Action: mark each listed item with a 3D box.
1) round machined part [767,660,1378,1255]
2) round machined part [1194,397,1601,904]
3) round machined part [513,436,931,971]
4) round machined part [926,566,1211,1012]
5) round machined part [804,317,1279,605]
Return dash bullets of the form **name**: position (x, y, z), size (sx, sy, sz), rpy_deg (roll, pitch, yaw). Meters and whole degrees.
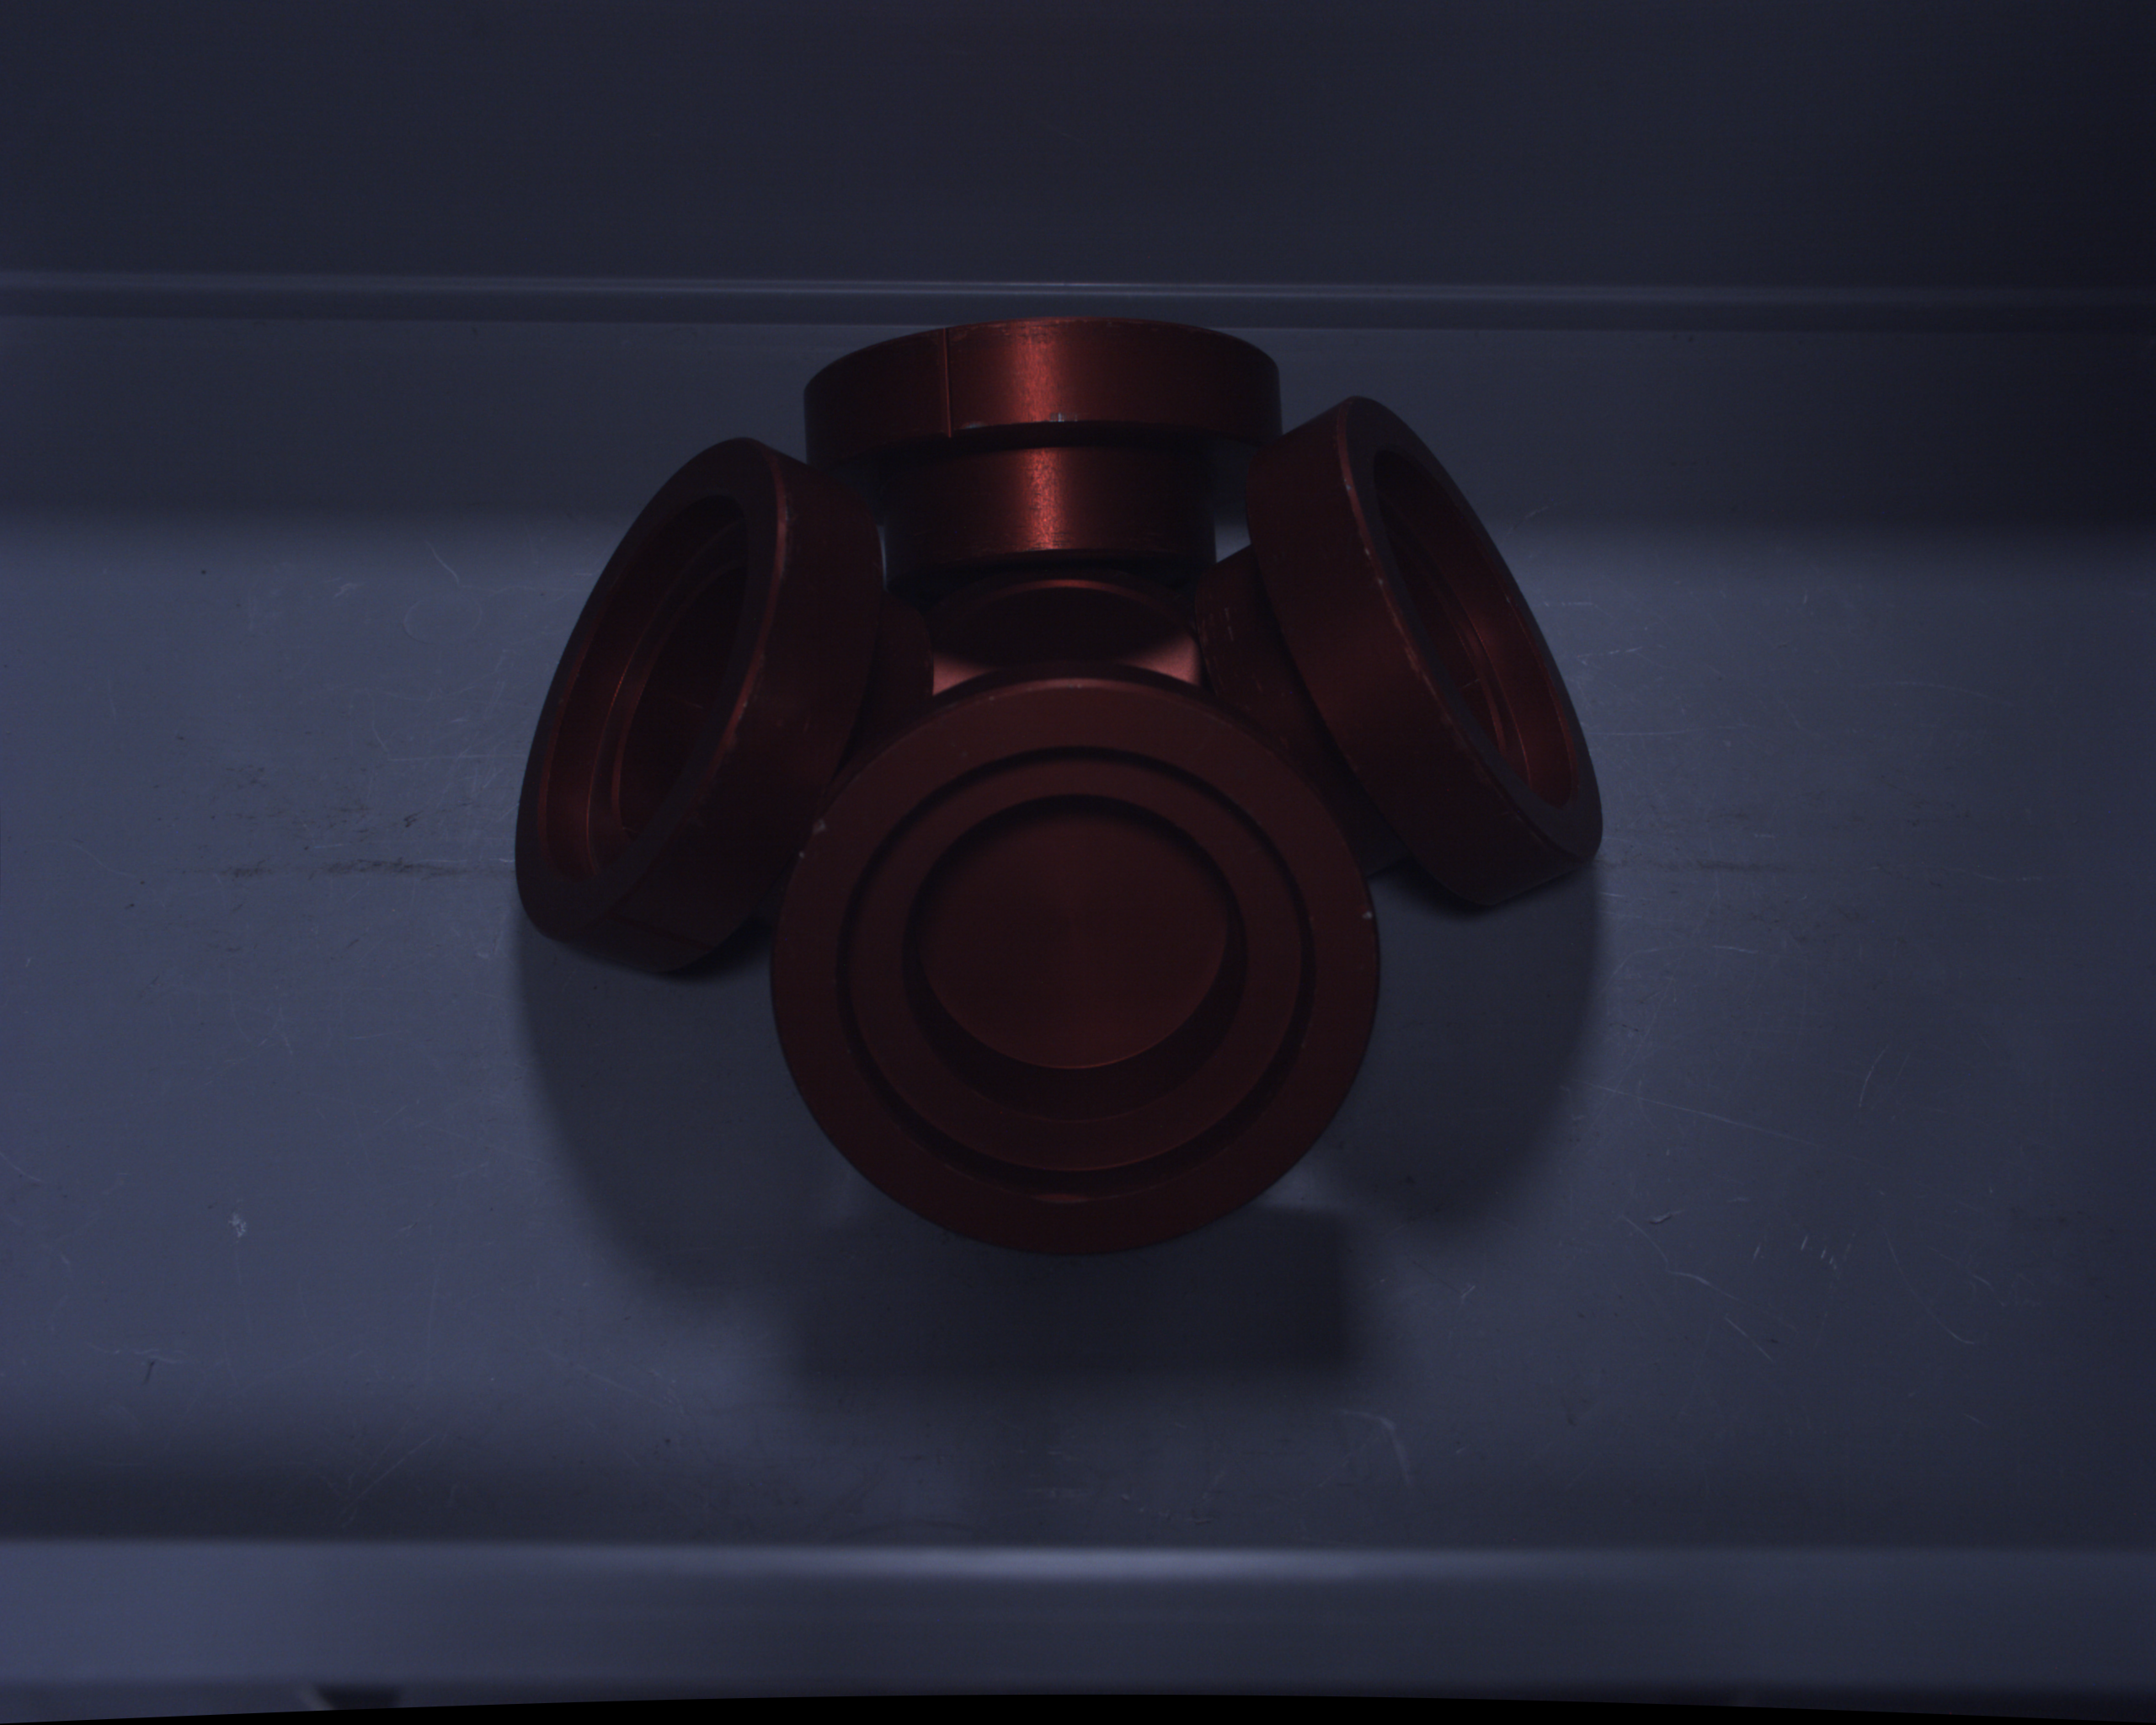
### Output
- **round machined part**: position (-0.001, 0.013, 0.356), size (0.099, 0.097, 0.042), rpy_deg (-1, 14, -1)
- **round machined part**: position (0.058, -0.036, 0.400), size (0.042, 0.098, 0.098), rpy_deg (-27, 45, 25)
- **round machined part**: position (-0.064, -0.026, 0.389), size (0.042, 0.098, 0.098), rpy_deg (22, 41, -32)
- **round machined part**: position (-0.003, -0.021, 0.409), size (0.099, 0.042, 0.098), rpy_deg (0, 50, 0)
- **round machined part**: position (-0.007, -0.078, 0.433), size (0.099, 0.098, 0.042), rpy_deg (-3, 88, -3)
